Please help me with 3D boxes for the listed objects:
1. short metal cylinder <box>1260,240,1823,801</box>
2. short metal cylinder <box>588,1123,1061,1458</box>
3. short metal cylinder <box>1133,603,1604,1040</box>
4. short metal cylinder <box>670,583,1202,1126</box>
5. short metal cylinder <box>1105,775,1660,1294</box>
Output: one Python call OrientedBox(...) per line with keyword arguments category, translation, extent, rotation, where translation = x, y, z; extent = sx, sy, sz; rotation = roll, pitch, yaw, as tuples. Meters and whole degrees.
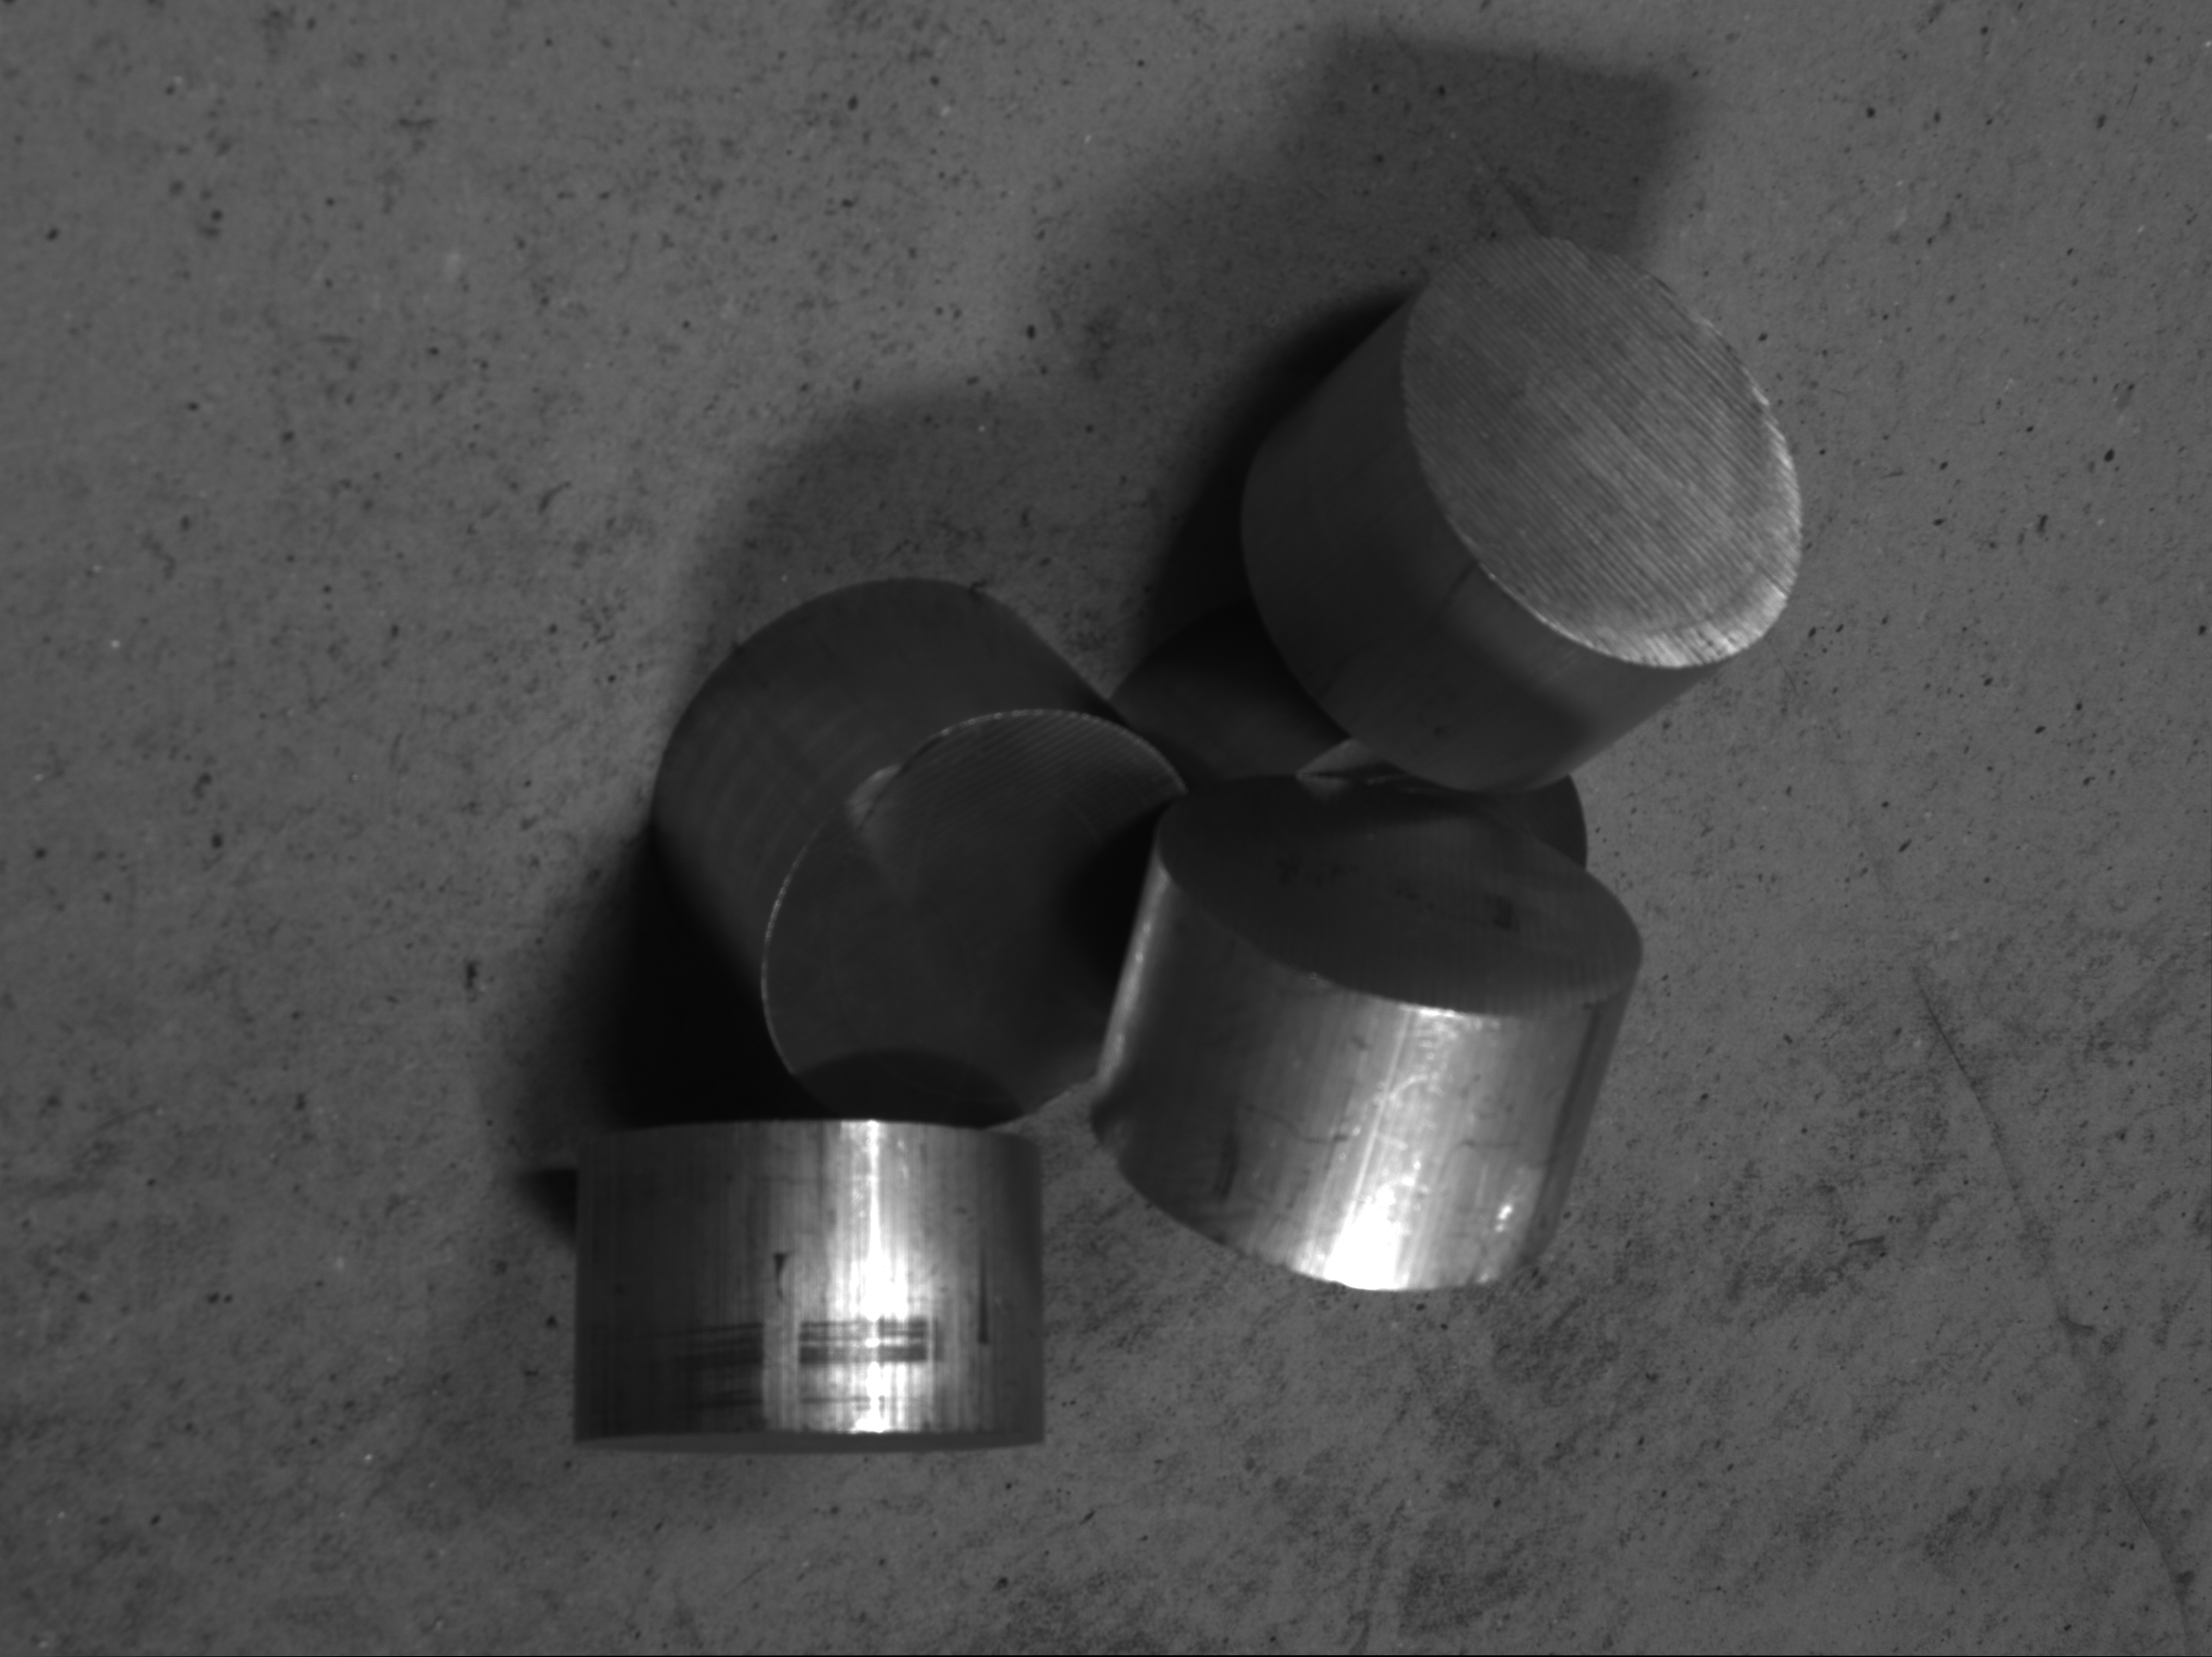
OrientedBox(category="short metal cylinder", translation=(0.073, -0.051, 0.617), extent=(0.080, 0.080, 0.050), rotation=(1, 156, -31))
OrientedBox(category="short metal cylinder", translation=(-0.048, 0.081, 0.628), extent=(0.080, 0.080, 0.050), rotation=(8, 75, -33))
OrientedBox(category="short metal cylinder", translation=(0.042, 0.004, 0.661), extent=(0.080, 0.050, 0.080), rotation=(-15, 125, -22))
OrientedBox(category="short metal cylinder", translation=(-0.027, 0.005, 0.621), extent=(0.080, 0.050, 0.080), rotation=(-15, 125, -22))
OrientedBox(category="short metal cylinder", translation=(0.044, 0.032, 0.595), extent=(0.080, 0.080, 0.050), rotation=(-1, 119, -30))
